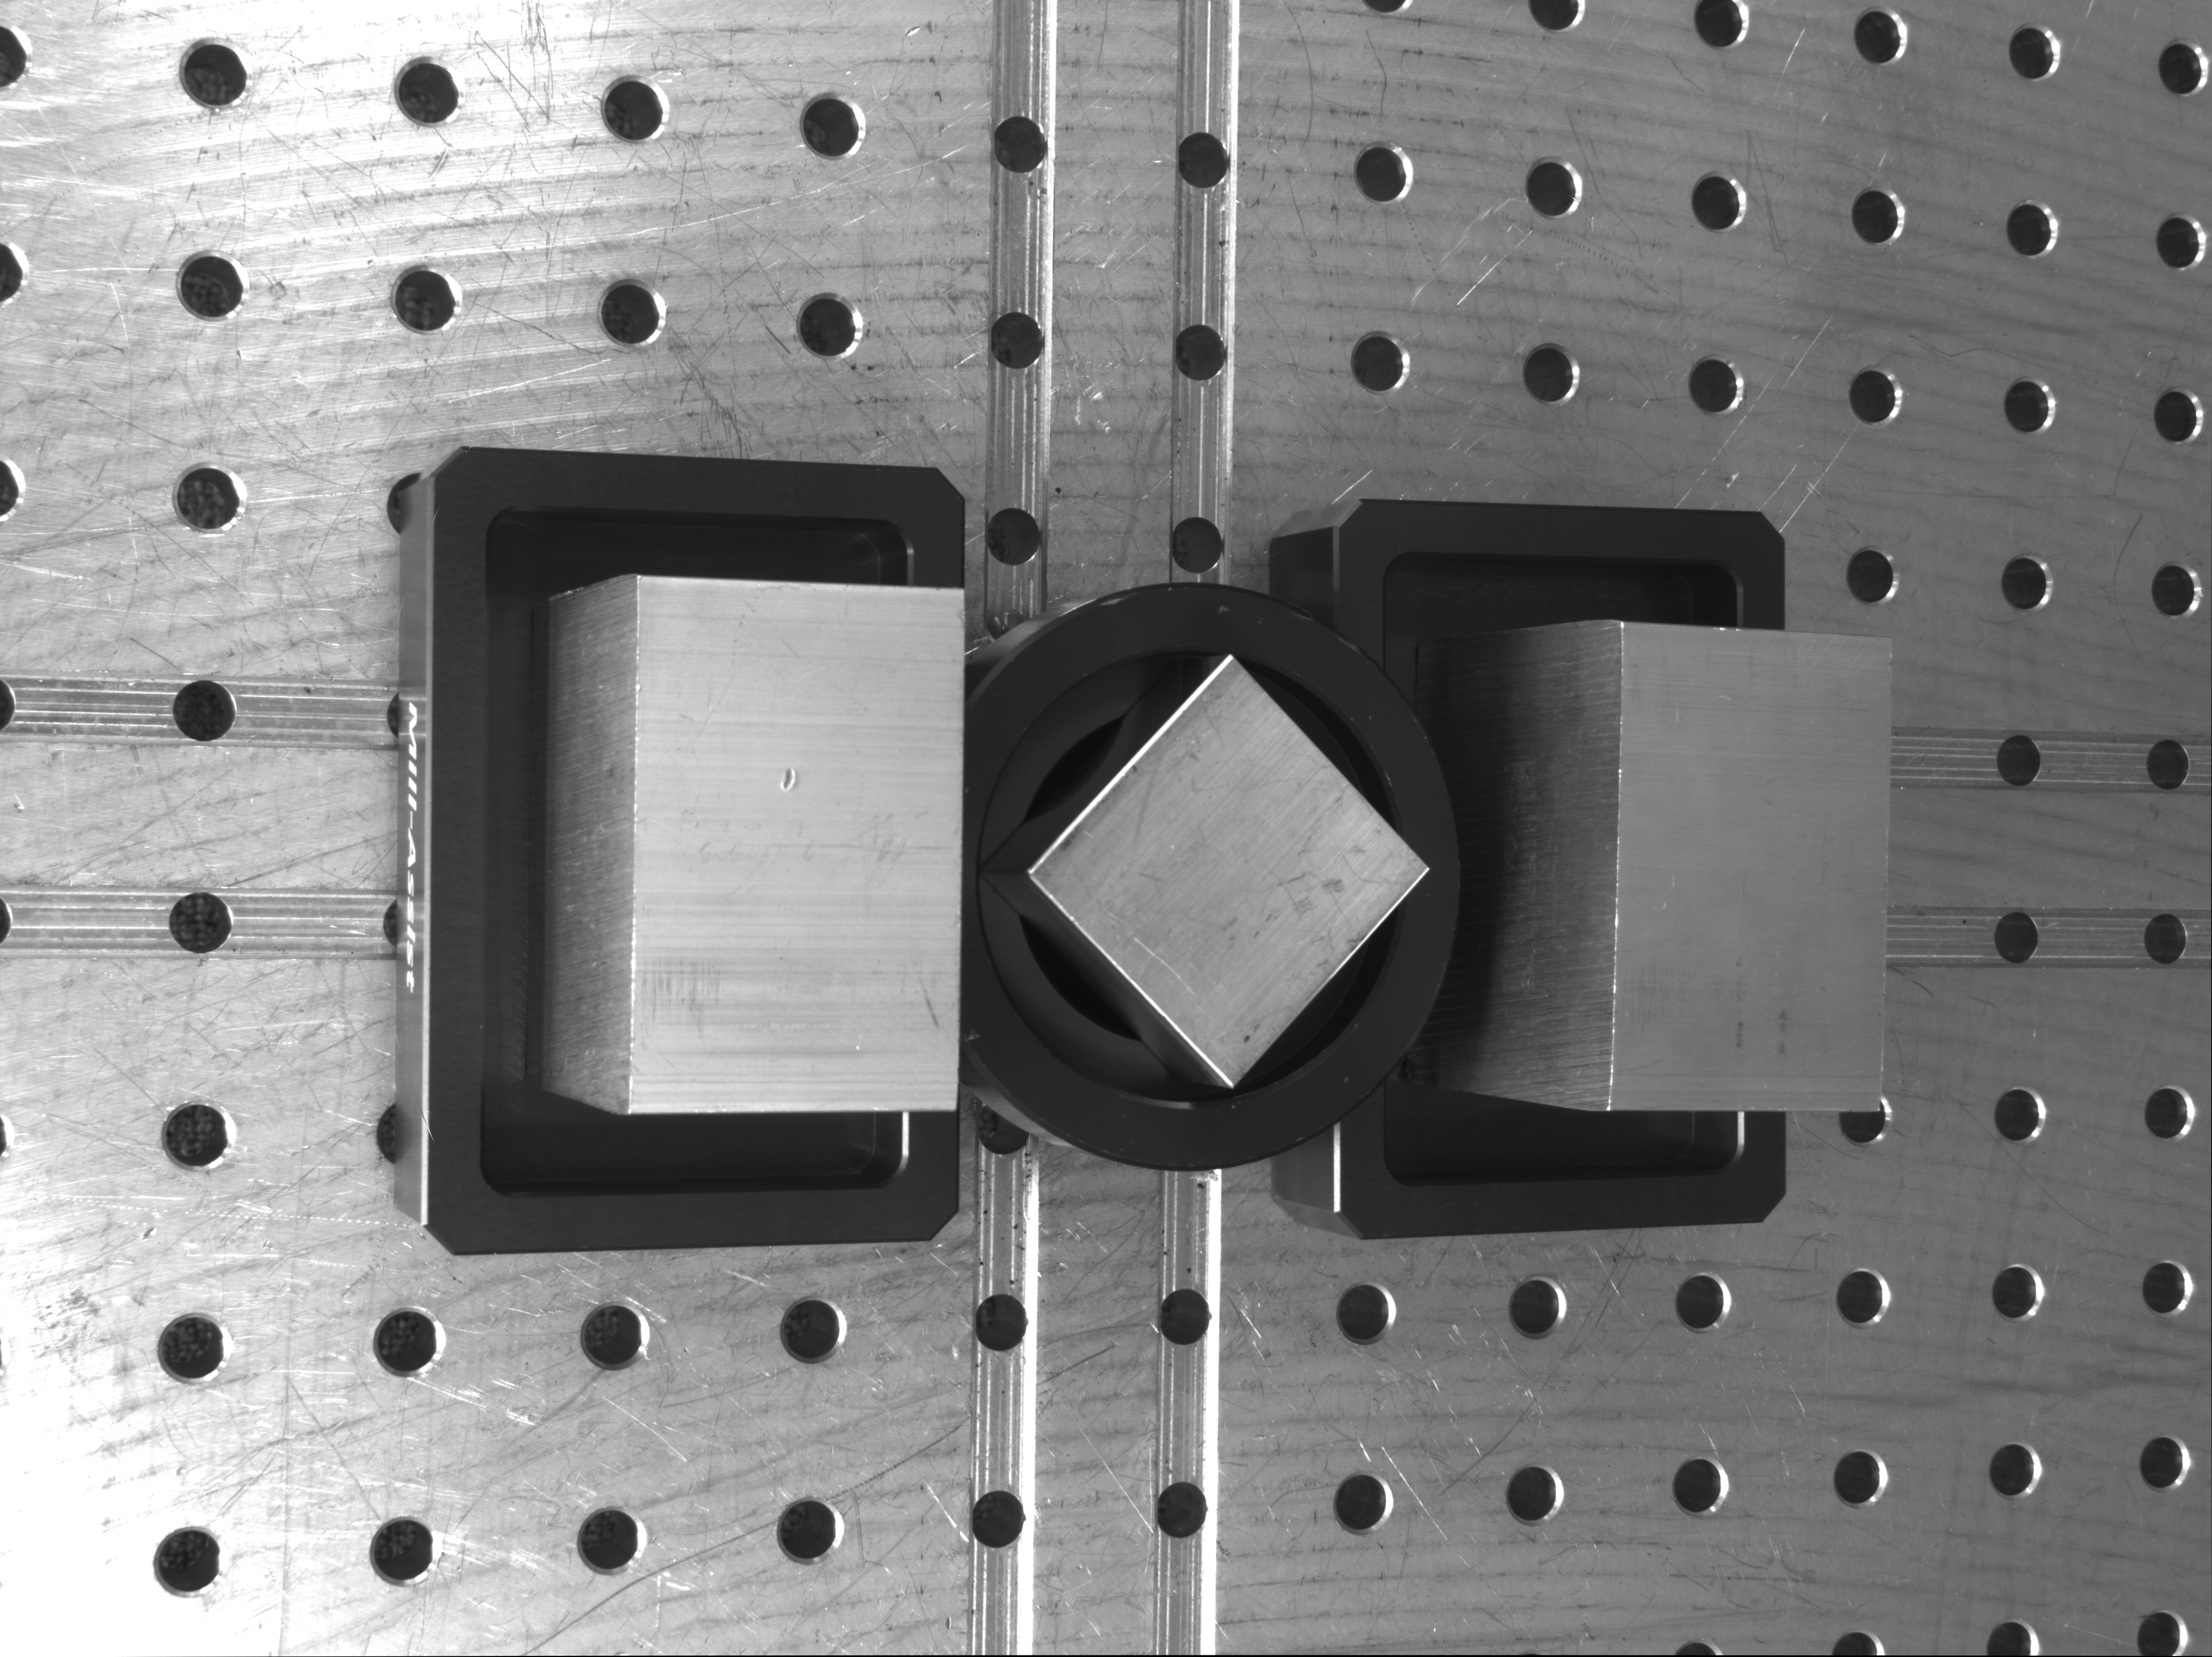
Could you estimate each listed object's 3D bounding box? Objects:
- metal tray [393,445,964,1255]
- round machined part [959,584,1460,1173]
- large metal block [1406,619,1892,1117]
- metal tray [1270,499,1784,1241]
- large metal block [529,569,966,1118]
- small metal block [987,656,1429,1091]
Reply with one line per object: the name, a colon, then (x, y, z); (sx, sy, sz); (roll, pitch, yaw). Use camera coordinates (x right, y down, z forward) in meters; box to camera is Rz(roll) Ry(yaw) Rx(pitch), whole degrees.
metal tray: (-0.072, 0.004, 0.616); (0.090, 0.030, 0.130); (1, 89, -20)
round machined part: (0.008, 0.008, 0.630); (0.098, 0.042, 0.098); (0, 90, -20)
large metal block: (0.092, 0.007, 0.635); (0.050, 0.080, 0.080); (2, 89, -20)
metal tray: (0.077, 0.007, 0.670); (0.090, 0.030, 0.130); (0, 90, -20)
large metal block: (-0.059, 0.003, 0.581); (0.050, 0.080, 0.080); (1, 90, -20)
small metal block: (0.016, 0.007, 0.608); (0.050, 0.025, 0.050); (46, 76, -14)
